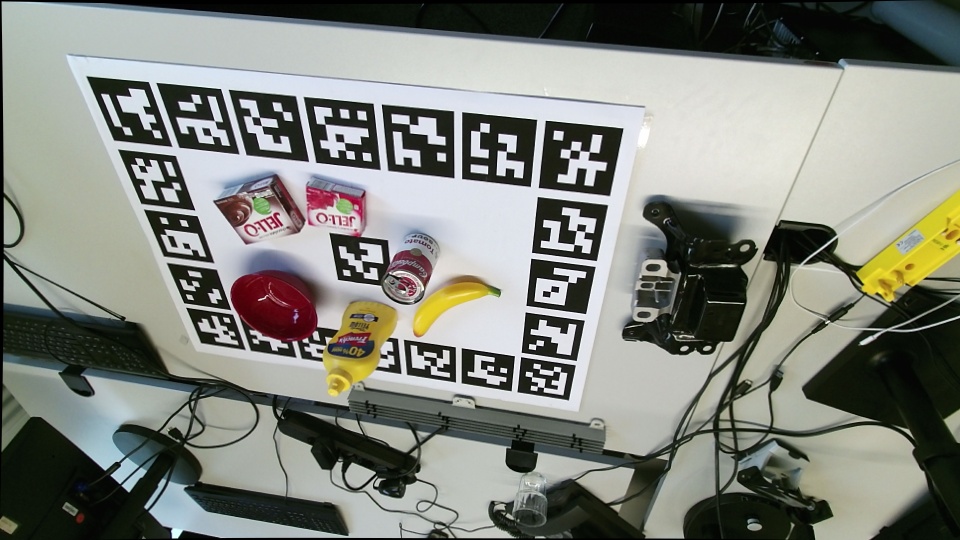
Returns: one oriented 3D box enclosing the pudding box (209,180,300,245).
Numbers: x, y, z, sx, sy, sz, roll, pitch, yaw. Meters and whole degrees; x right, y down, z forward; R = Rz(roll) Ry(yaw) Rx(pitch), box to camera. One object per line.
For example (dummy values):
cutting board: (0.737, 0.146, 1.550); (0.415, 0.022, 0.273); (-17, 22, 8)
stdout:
pudding box: (-0.364, -0.088, 0.870); (0.114, 0.038, 0.090); (-12, 118, 20)

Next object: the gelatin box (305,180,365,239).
gelatin box: (-0.227, -0.094, 0.842); (0.090, 0.030, 0.073); (13, 125, 1)

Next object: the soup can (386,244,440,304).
soup can: (-0.108, 0.014, 0.842); (0.068, 0.101, 0.068); (7, 129, 9)

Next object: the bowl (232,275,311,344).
bowl: (-0.380, 0.064, 0.983); (0.162, 0.055, 0.162); (5, 128, 7)

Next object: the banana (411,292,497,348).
banana: (-0.064, 0.084, 0.938); (0.074, 0.038, 0.197); (36, 127, -28)

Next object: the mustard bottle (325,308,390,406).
mustard bottle: (-0.226, 0.149, 0.911); (0.096, 0.191, 0.058); (8, 131, 7)
